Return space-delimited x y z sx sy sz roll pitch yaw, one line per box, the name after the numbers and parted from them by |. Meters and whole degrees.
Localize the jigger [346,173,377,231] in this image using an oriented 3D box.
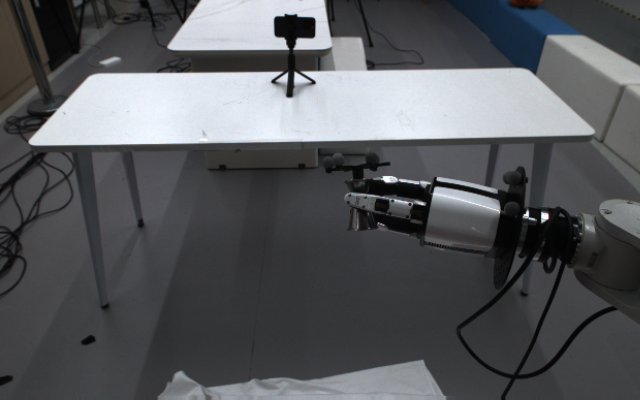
0.054 0.005 0.658 0.043 0.071 0.043 -4 1 0 | jigger
